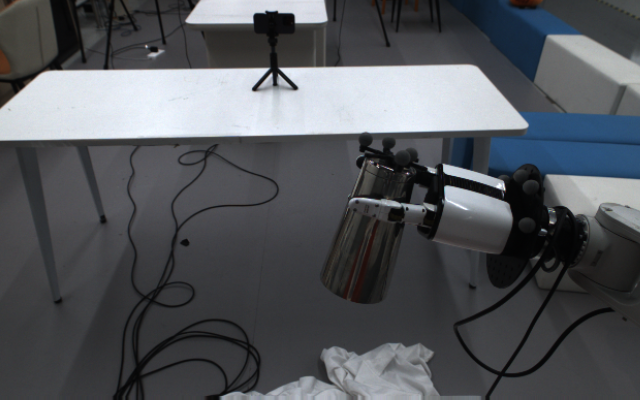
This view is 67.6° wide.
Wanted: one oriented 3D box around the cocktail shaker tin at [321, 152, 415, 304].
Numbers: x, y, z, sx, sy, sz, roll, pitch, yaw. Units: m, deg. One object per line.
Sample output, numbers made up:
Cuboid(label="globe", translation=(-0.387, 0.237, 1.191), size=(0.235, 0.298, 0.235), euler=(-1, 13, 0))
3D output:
Cuboid(label="cocktail shaker tin", translation=(0.067, 0.032, 0.618), size=(0.093, 0.170, 0.093), euler=(14, 18, -5))
